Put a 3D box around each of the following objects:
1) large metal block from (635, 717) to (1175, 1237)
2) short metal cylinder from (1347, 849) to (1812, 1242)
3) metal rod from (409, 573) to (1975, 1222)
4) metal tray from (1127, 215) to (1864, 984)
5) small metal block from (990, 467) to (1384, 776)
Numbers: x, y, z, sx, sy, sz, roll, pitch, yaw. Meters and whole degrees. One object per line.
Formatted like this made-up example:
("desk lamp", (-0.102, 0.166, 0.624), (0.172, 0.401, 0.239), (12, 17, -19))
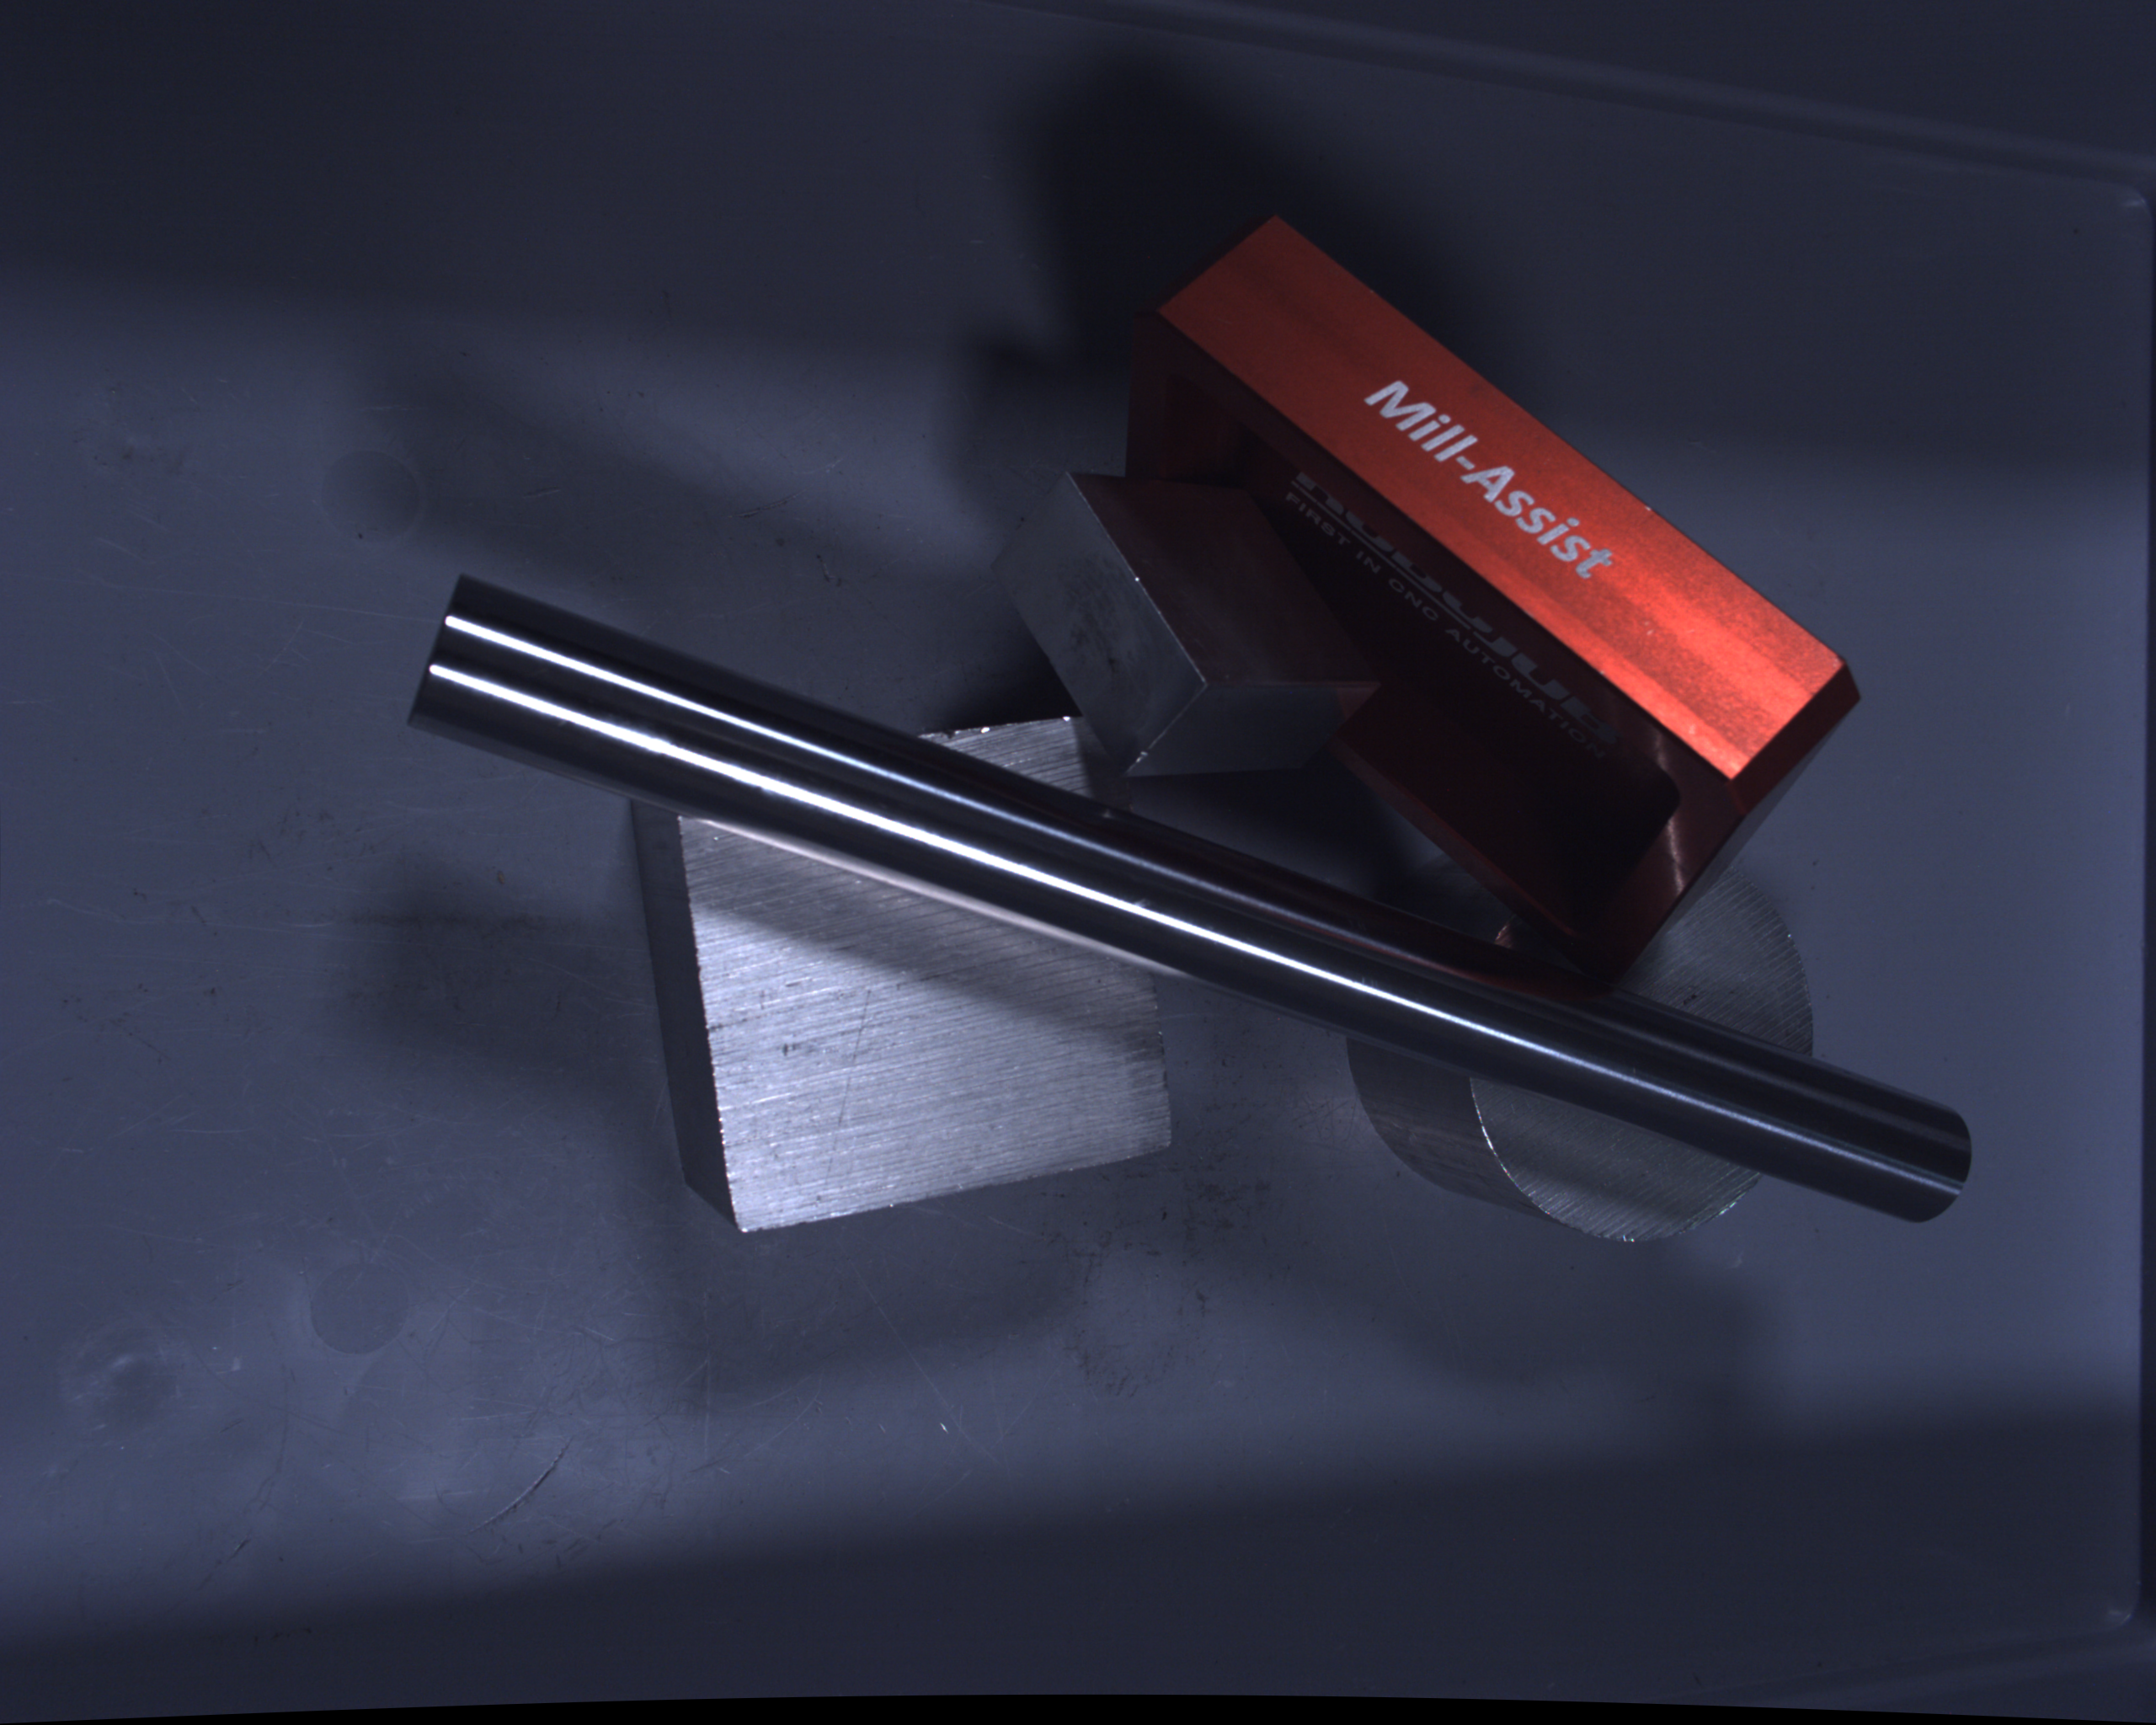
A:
("large metal block", (-0.034, 0.018, 0.385), (0.081, 0.050, 0.079), (-8, 93, -20))
("short metal cylinder", (0.104, 0.035, 0.436), (0.081, 0.050, 0.079), (0, 90, -21))
("metal rod", (0.036, 0.014, 0.369), (0.302, 0.025, 0.025), (19, 84, -20))
("metal tray", (0.065, -0.044, 0.373), (0.130, 0.090, 0.030), (43, 74, 15))
("small metal block", (0.020, -0.044, 0.382), (0.050, 0.025, 0.050), (-5, 56, -47))
